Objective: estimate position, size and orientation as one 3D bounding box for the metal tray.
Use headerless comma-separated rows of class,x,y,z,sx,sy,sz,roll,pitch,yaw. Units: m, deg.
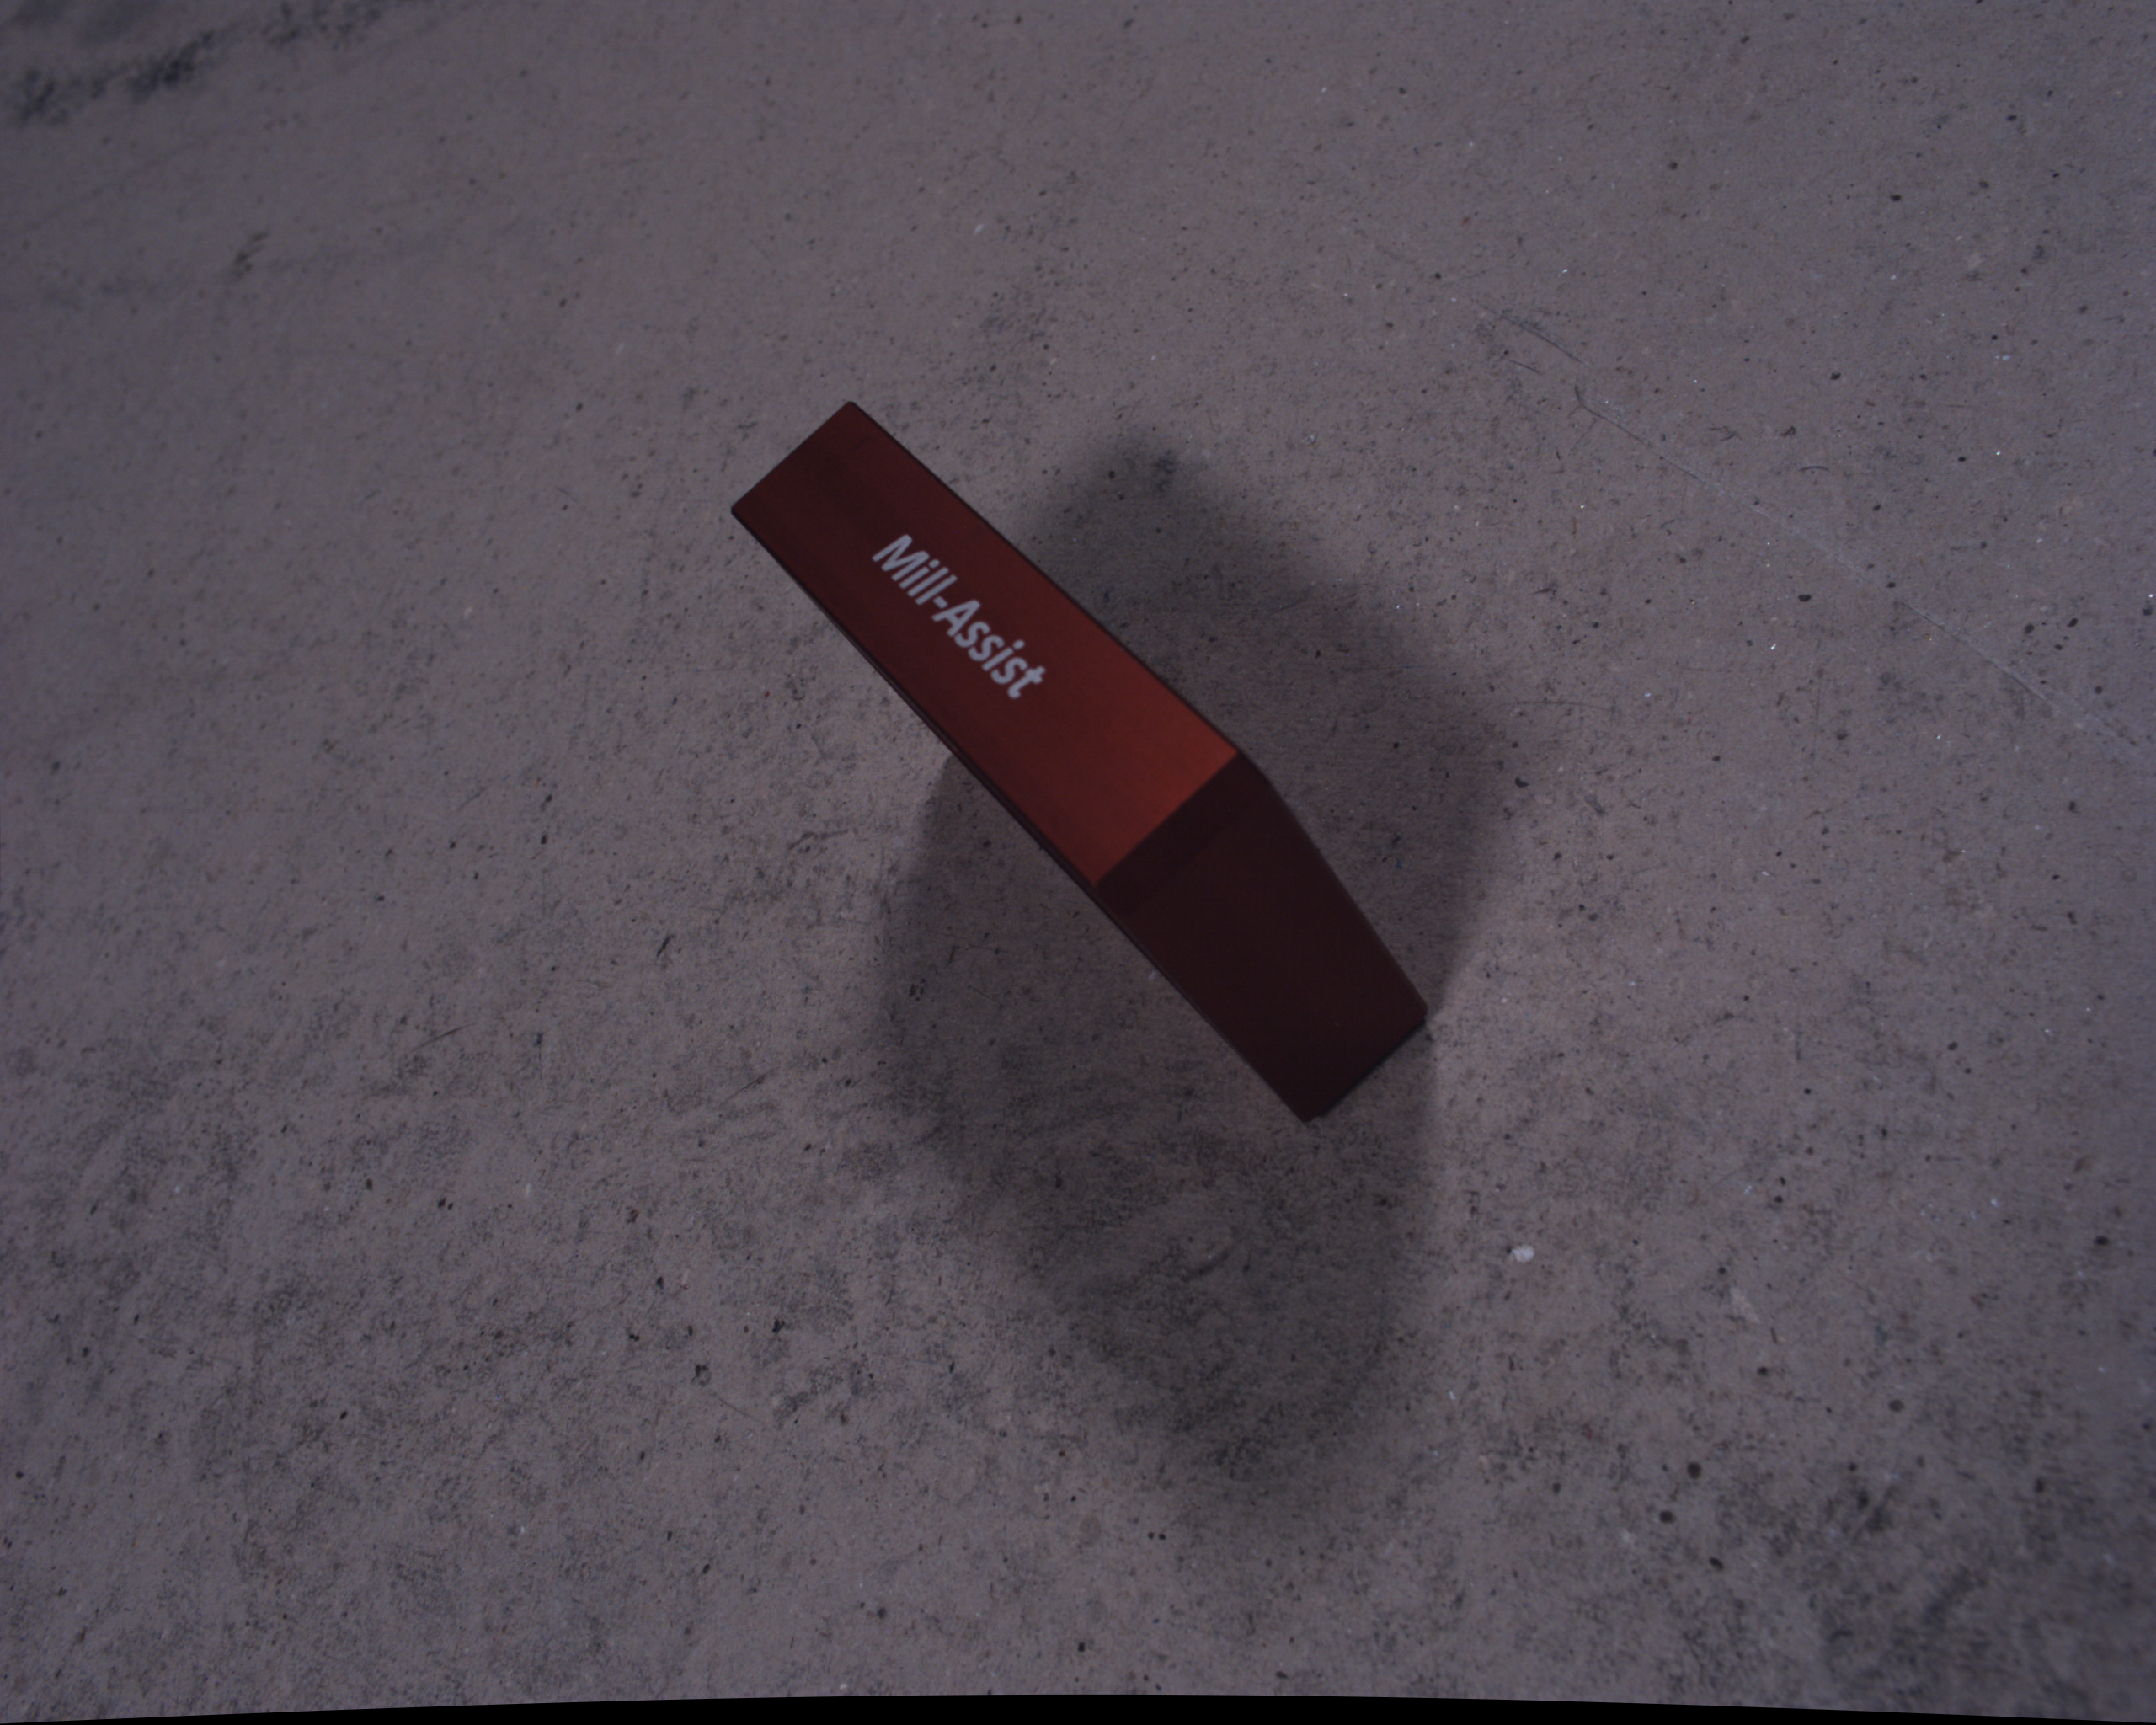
metal tray,-0.001,-0.019,0.375,0.030,0.090,0.130,-43,51,-1
